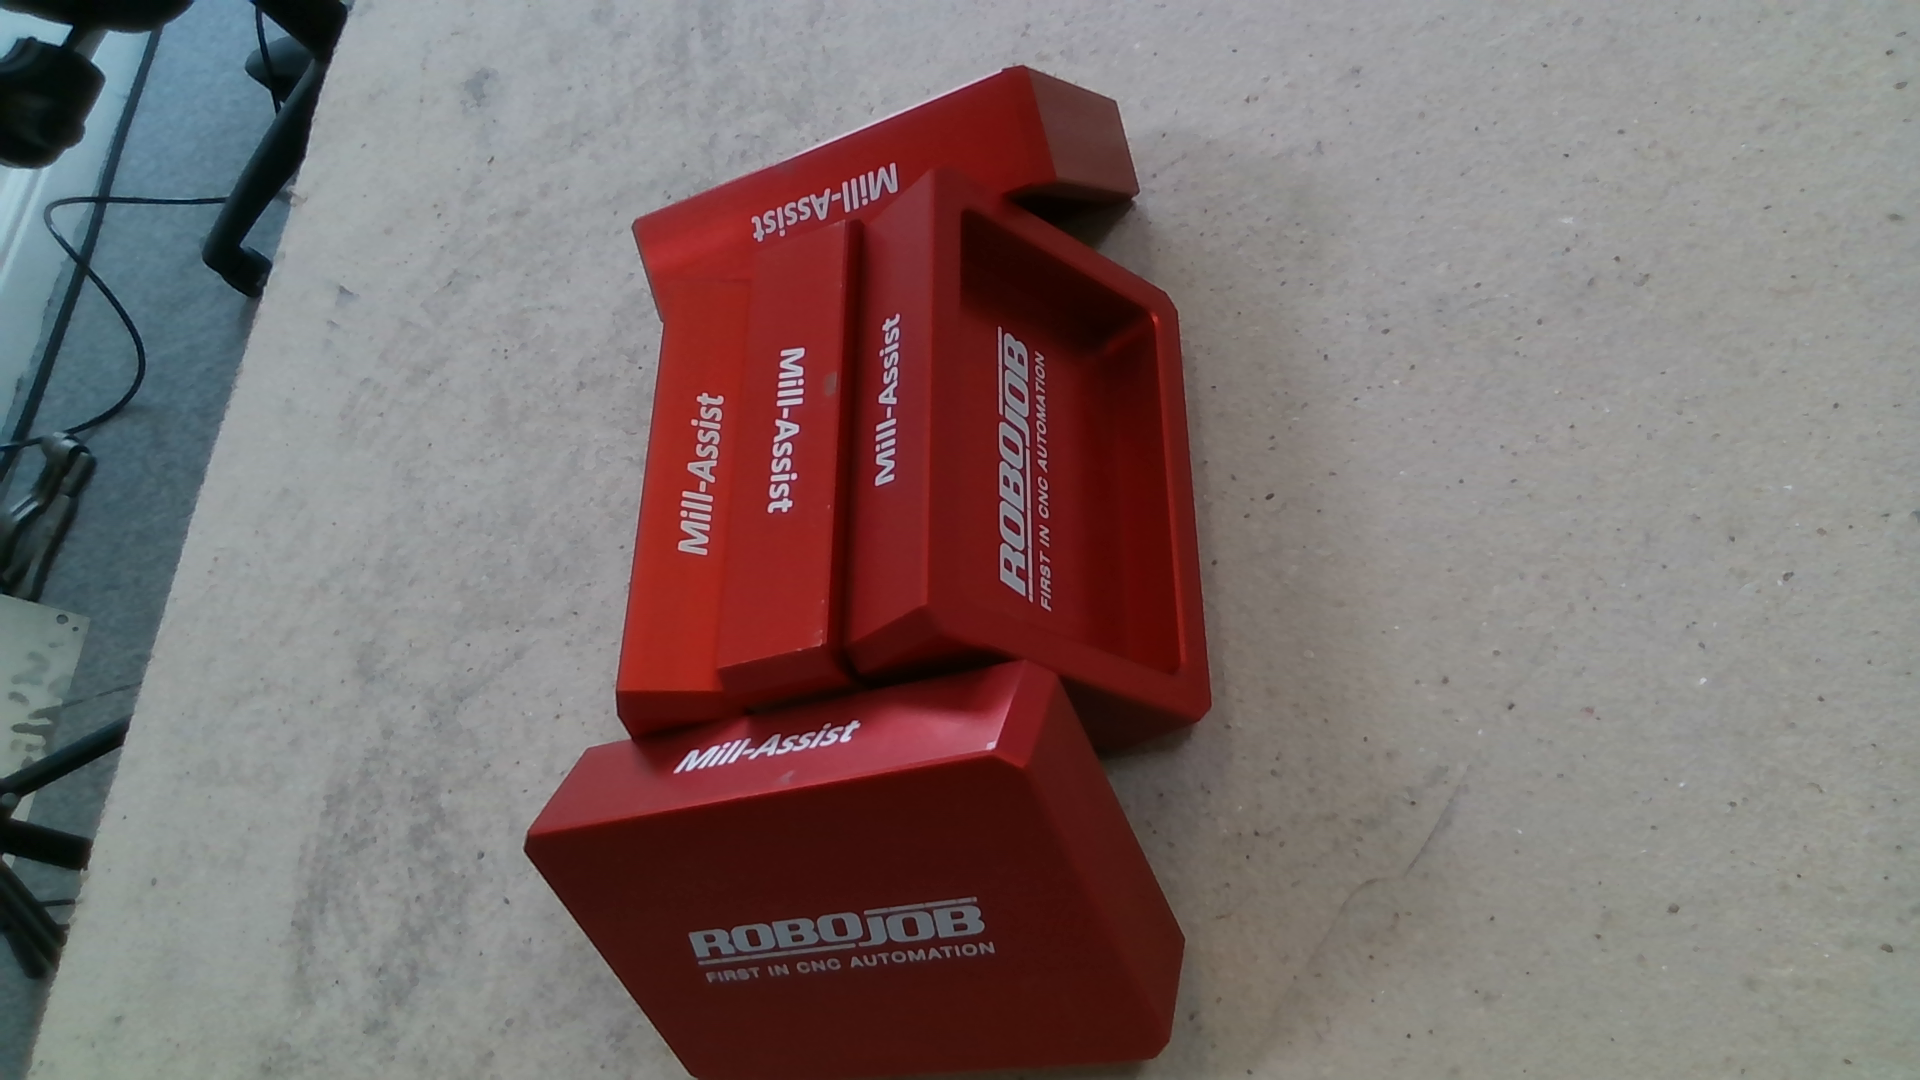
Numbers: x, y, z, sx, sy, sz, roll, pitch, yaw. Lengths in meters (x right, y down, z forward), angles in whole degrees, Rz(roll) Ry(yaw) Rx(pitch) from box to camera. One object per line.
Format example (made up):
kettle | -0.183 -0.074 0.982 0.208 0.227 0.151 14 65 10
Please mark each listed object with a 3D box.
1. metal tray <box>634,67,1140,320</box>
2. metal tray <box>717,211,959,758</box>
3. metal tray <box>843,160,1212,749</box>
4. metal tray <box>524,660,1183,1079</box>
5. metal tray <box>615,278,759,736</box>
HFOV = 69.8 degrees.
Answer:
metal tray | -0.021 -0.101 0.418 0.130 0.090 0.030 -14 95 25
metal tray | -0.021 -0.009 0.368 0.030 0.090 0.130 -14 59 25
metal tray | 0.018 -0.021 0.348 0.030 0.090 0.130 -29 50 43
metal tray | -0.025 0.082 0.321 0.130 0.090 0.030 -14 28 25
metal tray | -0.066 0.003 0.389 0.030 0.090 0.130 1 62 0
